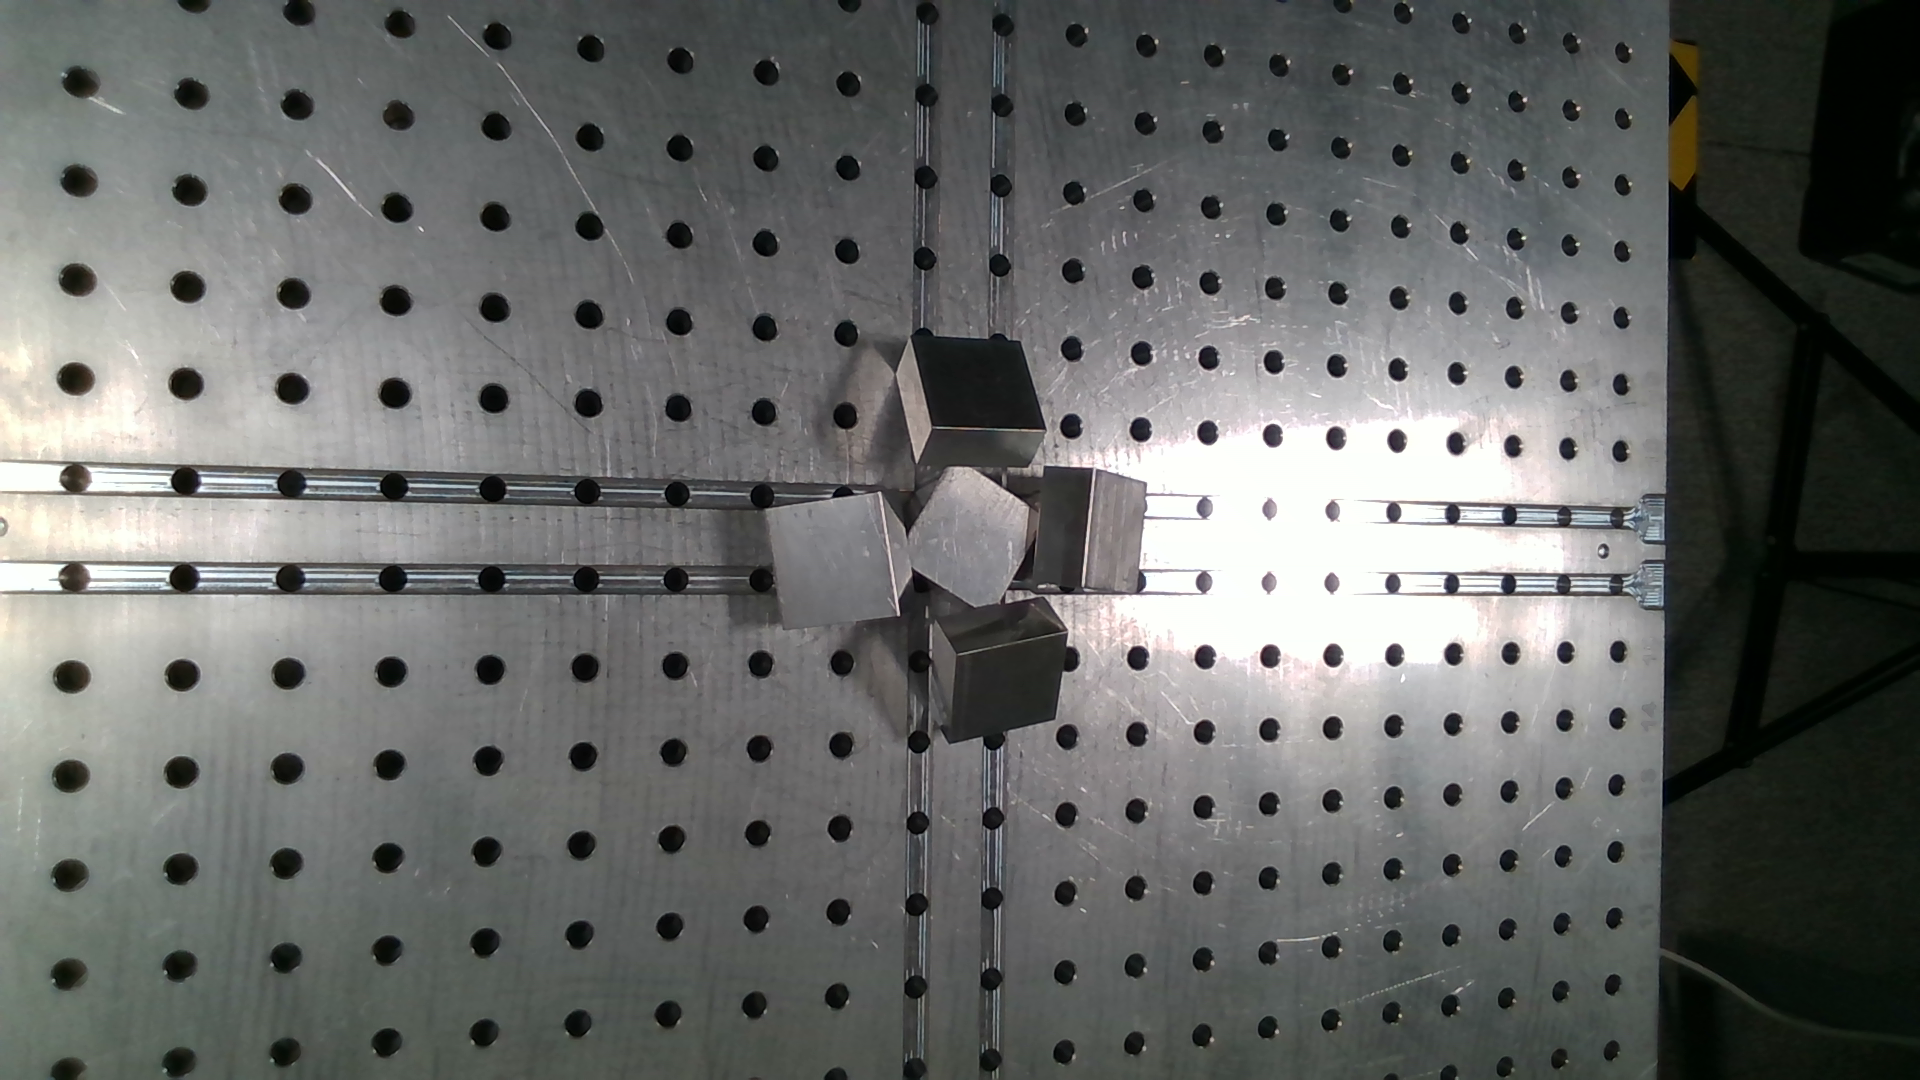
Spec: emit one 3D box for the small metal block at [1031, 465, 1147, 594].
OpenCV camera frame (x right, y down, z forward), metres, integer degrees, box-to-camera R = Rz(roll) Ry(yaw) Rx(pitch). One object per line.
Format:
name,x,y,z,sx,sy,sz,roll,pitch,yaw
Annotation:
small metal block,0.057,-0.004,0.596,0.050,0.025,0.050,9,86,-56

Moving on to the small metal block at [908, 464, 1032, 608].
small metal block,0.001,-0.002,0.588,0.050,0.025,0.050,33,79,-17

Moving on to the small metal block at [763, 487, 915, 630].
small metal block,-0.048,0.007,0.557,0.050,0.025,0.050,-8,93,16

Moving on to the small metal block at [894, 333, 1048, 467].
small metal block,0.004,-0.058,0.577,0.050,0.025,0.050,0,55,-20

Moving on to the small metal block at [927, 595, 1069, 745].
small metal block,0.015,0.055,0.582,0.050,0.025,0.050,-10,129,-20
